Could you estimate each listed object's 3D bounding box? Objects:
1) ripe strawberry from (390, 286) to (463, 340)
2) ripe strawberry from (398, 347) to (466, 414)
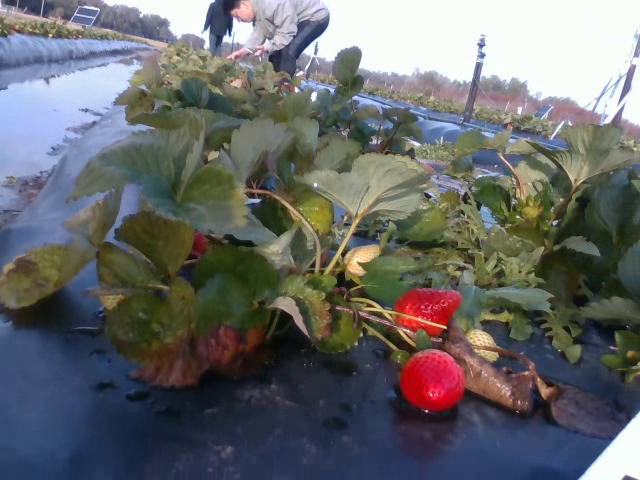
[{"bbox_3d":[0.068,0.039,0.375,0.049,0.032,0.039,-38,-7,34],"label":"ripe strawberry"},{"bbox_3d":[0.054,0.069,0.291,0.035,0.030,0.043,4,14,7],"label":"ripe strawberry"}]
